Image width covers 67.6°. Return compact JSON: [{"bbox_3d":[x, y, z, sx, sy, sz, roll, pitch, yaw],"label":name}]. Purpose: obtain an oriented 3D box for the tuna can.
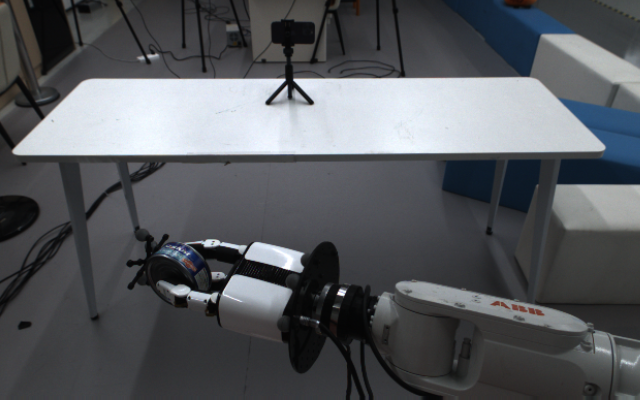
[{"bbox_3d":[-0.187,0.098,0.646,0.085,0.085,0.034,13,31,16],"label":"tuna can"}]
